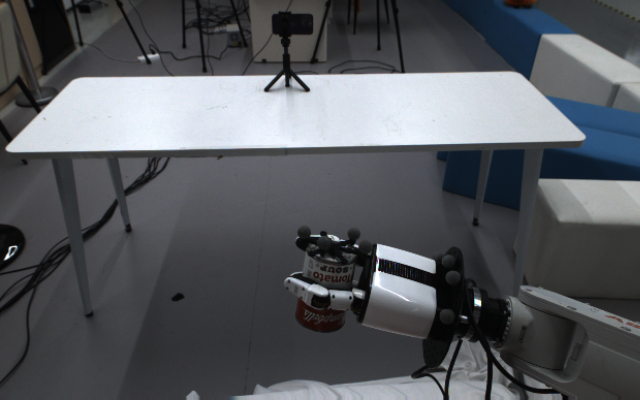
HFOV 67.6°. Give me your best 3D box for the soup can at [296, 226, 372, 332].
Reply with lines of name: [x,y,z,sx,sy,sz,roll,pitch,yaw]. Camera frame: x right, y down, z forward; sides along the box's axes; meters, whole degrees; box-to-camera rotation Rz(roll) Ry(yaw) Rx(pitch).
soup can: [0.009,0.111,0.633,0.067,0.101,0.067,9,19,-3]
